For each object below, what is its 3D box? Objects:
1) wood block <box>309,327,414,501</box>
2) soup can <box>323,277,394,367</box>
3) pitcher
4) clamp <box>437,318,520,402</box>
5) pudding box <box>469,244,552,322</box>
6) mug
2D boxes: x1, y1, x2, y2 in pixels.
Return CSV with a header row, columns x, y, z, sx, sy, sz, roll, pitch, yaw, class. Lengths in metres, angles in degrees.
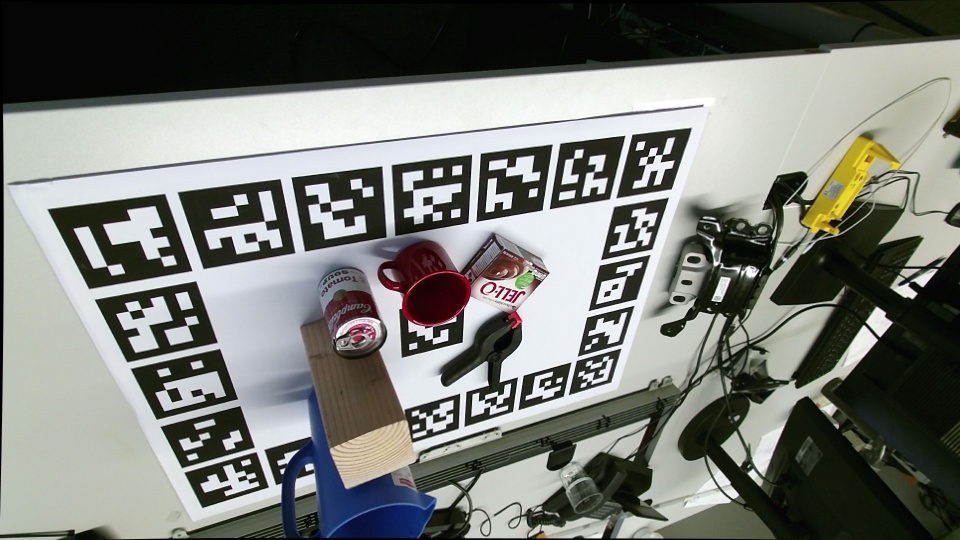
x,y,z,sx,sy,sz,roll,pitch,yaw,class
-0.156,0.168,0.685,0.090,0.205,0.091,-12,130,-16,wood block
-0.155,0.063,0.674,0.068,0.101,0.068,-14,128,-19,soup can
-0.179,0.278,0.738,0.189,0.241,0.133,-14,133,-22,pitcher
0.015,0.150,0.891,0.122,0.036,0.165,19,114,-30,clamp
0.046,0.020,0.798,0.114,0.038,0.090,26,107,-40,pudding box
-0.073,0.023,0.703,0.117,0.081,0.093,23,114,-40,mug
